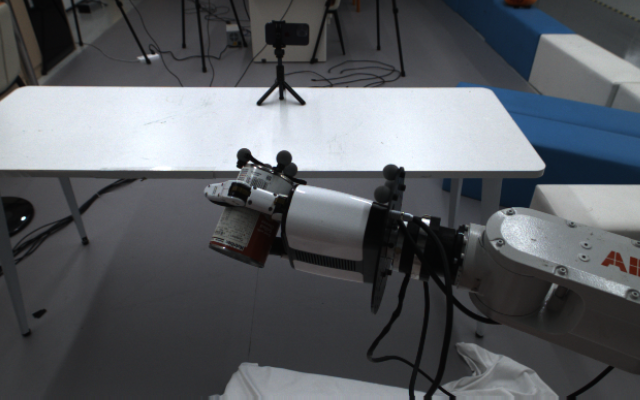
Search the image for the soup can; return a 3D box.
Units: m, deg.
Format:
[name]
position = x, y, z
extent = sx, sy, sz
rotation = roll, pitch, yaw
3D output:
[soup can]
position = -0.076, 0.017, 0.552
extent = 0.067, 0.067, 0.101
rotation = 16, 75, 19
